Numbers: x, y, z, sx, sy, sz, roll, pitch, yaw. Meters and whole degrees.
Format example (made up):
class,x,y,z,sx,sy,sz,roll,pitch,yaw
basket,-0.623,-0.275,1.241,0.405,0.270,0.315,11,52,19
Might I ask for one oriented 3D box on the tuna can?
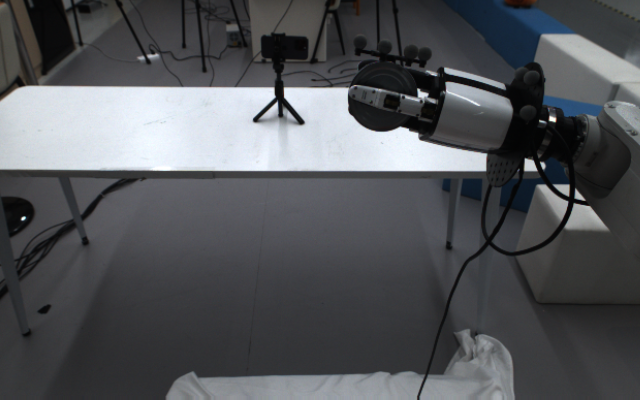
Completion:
class,x,y,z,sx,sy,sz,roll,pitch,yaw
tuna can,0.079,-0.134,0.610,0.085,0.085,0.034,5,18,4
